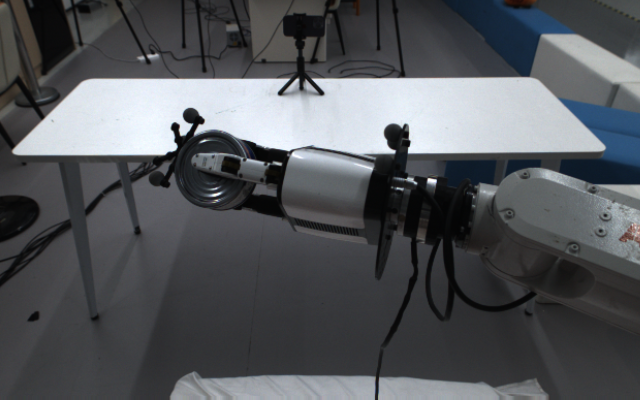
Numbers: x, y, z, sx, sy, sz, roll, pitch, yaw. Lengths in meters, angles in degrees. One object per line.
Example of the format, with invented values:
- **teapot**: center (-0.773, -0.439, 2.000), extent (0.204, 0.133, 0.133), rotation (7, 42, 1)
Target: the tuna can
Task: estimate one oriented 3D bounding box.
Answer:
- **tuna can**: center (-0.109, -0.028, 0.525), extent (0.085, 0.085, 0.034), rotation (9, -4, 10)
